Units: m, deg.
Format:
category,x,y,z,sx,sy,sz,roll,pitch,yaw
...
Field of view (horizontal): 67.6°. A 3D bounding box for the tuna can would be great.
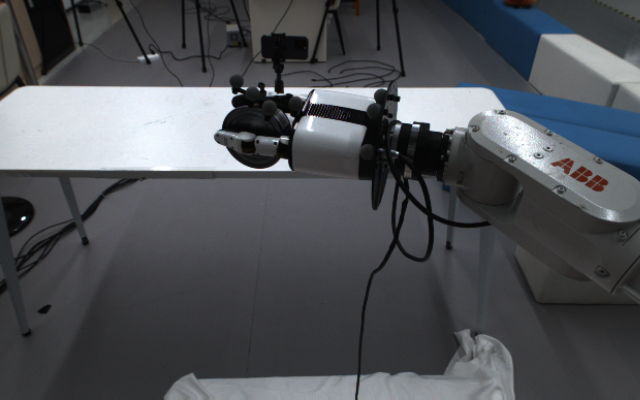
category,x,y,z,sx,sy,sz,roll,pitch,yaw
tuna can,-0.079,-0.086,0.624,0.085,0.085,0.034,12,33,14
